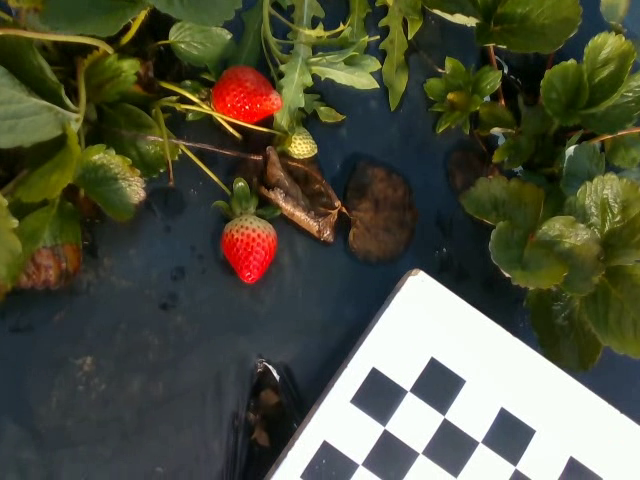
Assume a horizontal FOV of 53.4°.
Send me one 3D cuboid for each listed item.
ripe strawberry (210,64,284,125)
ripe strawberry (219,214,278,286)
[{"bbox_3d":[-0.040,-0.085,0.359,0.049,0.040,0.032,13,-13,38],"label":"ripe strawberry"},{"bbox_3d":[-0.040,0.005,0.348,0.035,0.043,0.029,0,-12,-8],"label":"ripe strawberry"}]
